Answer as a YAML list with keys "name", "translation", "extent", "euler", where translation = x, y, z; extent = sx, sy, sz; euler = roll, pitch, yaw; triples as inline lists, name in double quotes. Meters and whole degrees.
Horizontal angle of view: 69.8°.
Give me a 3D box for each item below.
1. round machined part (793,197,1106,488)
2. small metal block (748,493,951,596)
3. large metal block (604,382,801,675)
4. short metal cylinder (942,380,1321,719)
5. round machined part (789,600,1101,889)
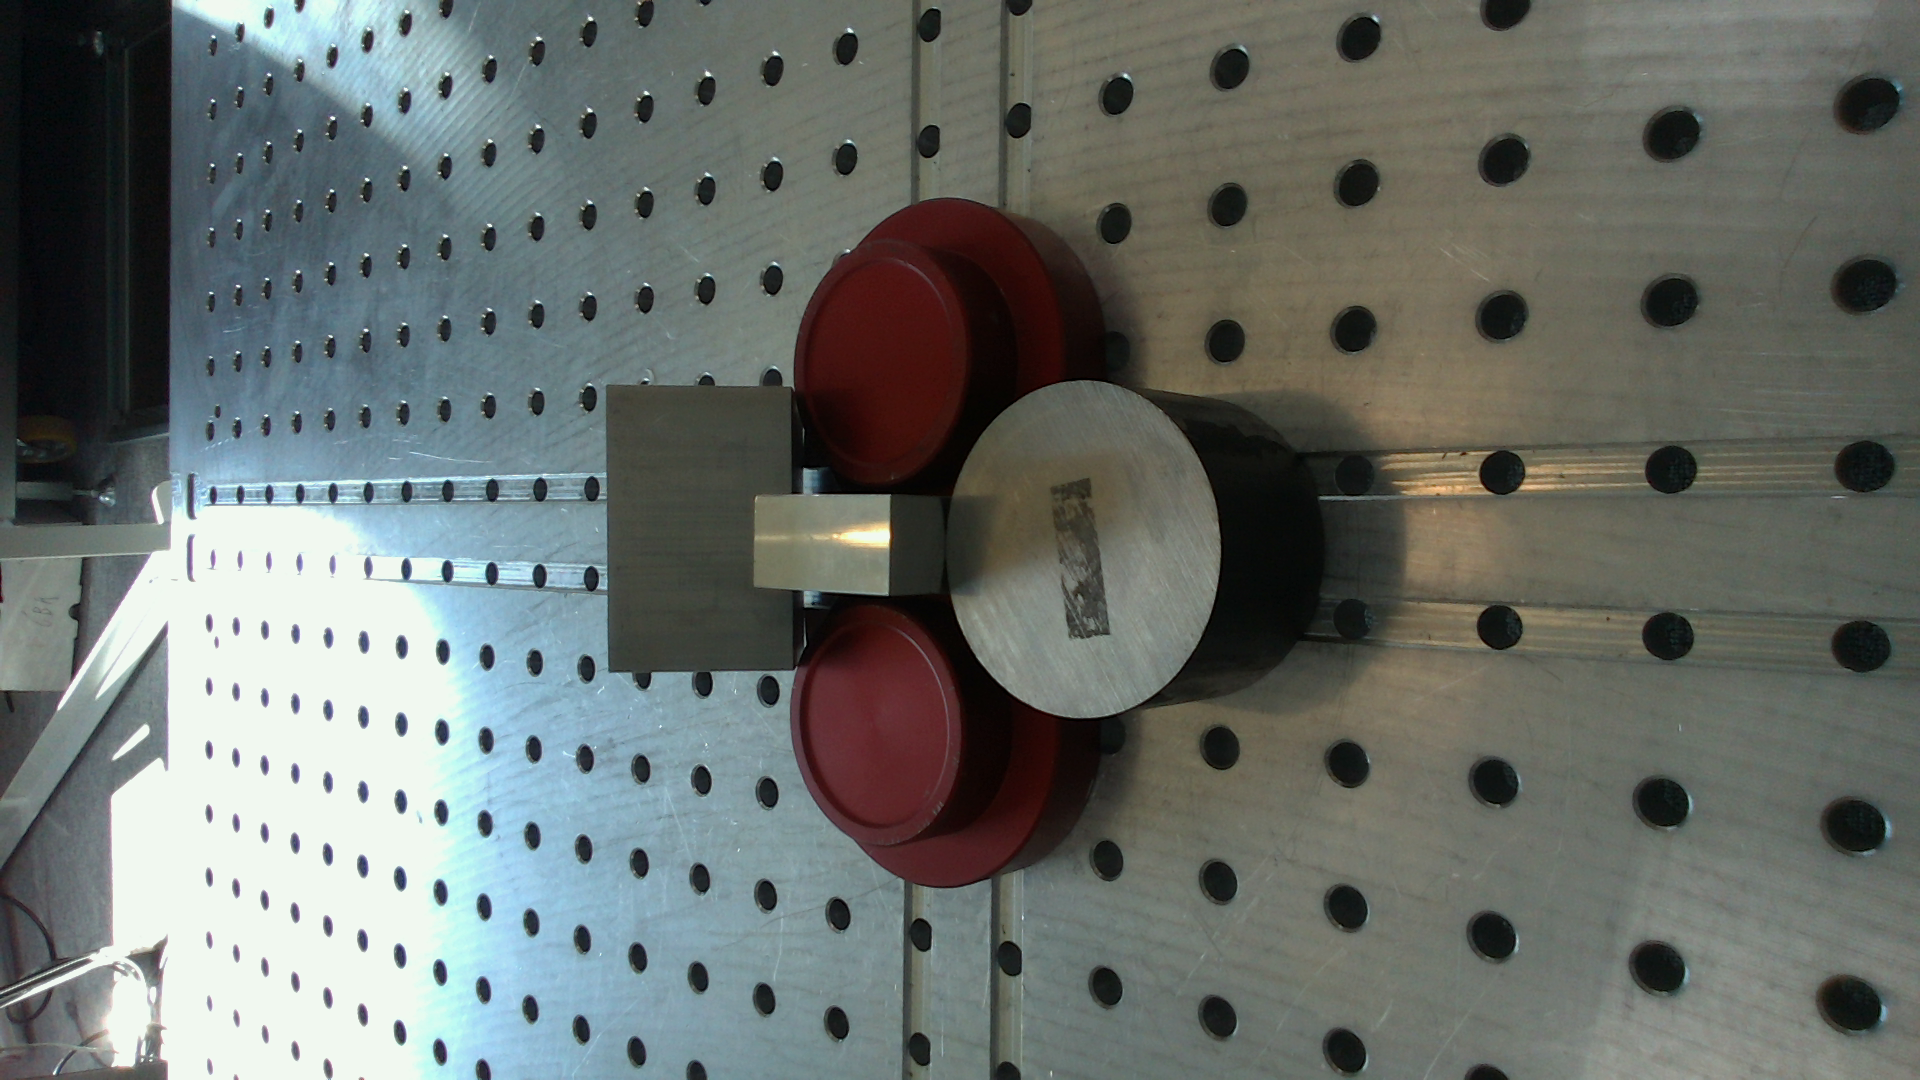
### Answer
- name: "round machined part"
  translation: [-0.010, -0.049, 0.396]
  extent: [0.098, 0.042, 0.098]
  euler: [0, 90, 40]
- name: "small metal block"
  translation: [-0.021, 0.001, 0.370]
  extent: [0.050, 0.050, 0.025]
  euler: [2, 91, 40]
- name: "large metal block"
  translation: [-0.075, -0.003, 0.417]
  extent: [0.050, 0.080, 0.080]
  euler: [-1, 90, -4]
- name: "short metal cylinder"
  translation: [0.042, 0.002, 0.345]
  extent: [0.080, 0.050, 0.080]
  euler: [0, 90, 40]
- name: "round machined part"
  translation: [-0.011, 0.051, 0.397]
  extent: [0.098, 0.042, 0.098]
  euler: [0, 90, 40]
